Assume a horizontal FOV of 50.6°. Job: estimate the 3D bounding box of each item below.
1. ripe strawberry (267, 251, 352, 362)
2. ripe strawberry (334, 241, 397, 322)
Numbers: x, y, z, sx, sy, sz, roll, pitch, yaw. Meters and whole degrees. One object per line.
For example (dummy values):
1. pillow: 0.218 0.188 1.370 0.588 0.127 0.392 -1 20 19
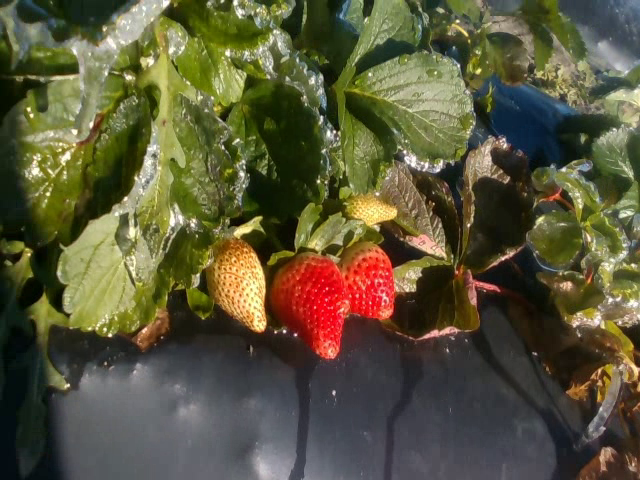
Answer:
1. ripe strawberry: -0.001 0.033 0.283 0.036 0.052 0.040 -12 -40 -22
2. ripe strawberry: 0.023 0.021 0.312 0.036 0.041 0.030 -38 1 -20
